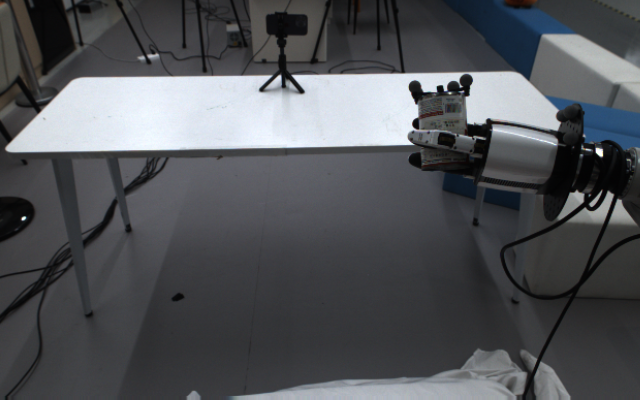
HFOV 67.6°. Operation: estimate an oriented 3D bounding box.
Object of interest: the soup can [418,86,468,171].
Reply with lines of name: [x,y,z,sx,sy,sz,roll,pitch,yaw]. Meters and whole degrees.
soup can: [0.175,-0.095,0.682,0.067,0.101,0.067,-3,-1,0]
